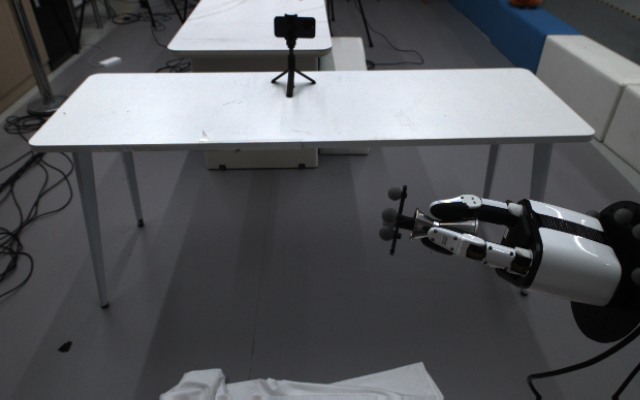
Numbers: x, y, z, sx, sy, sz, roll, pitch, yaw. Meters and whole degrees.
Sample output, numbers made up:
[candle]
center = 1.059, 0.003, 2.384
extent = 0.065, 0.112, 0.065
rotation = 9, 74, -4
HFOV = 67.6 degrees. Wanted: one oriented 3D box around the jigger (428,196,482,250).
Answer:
[jigger]
center = 0.148, 0.028, 0.557
extent = 0.071, 0.043, 0.043
rotation = 9, 35, 9
